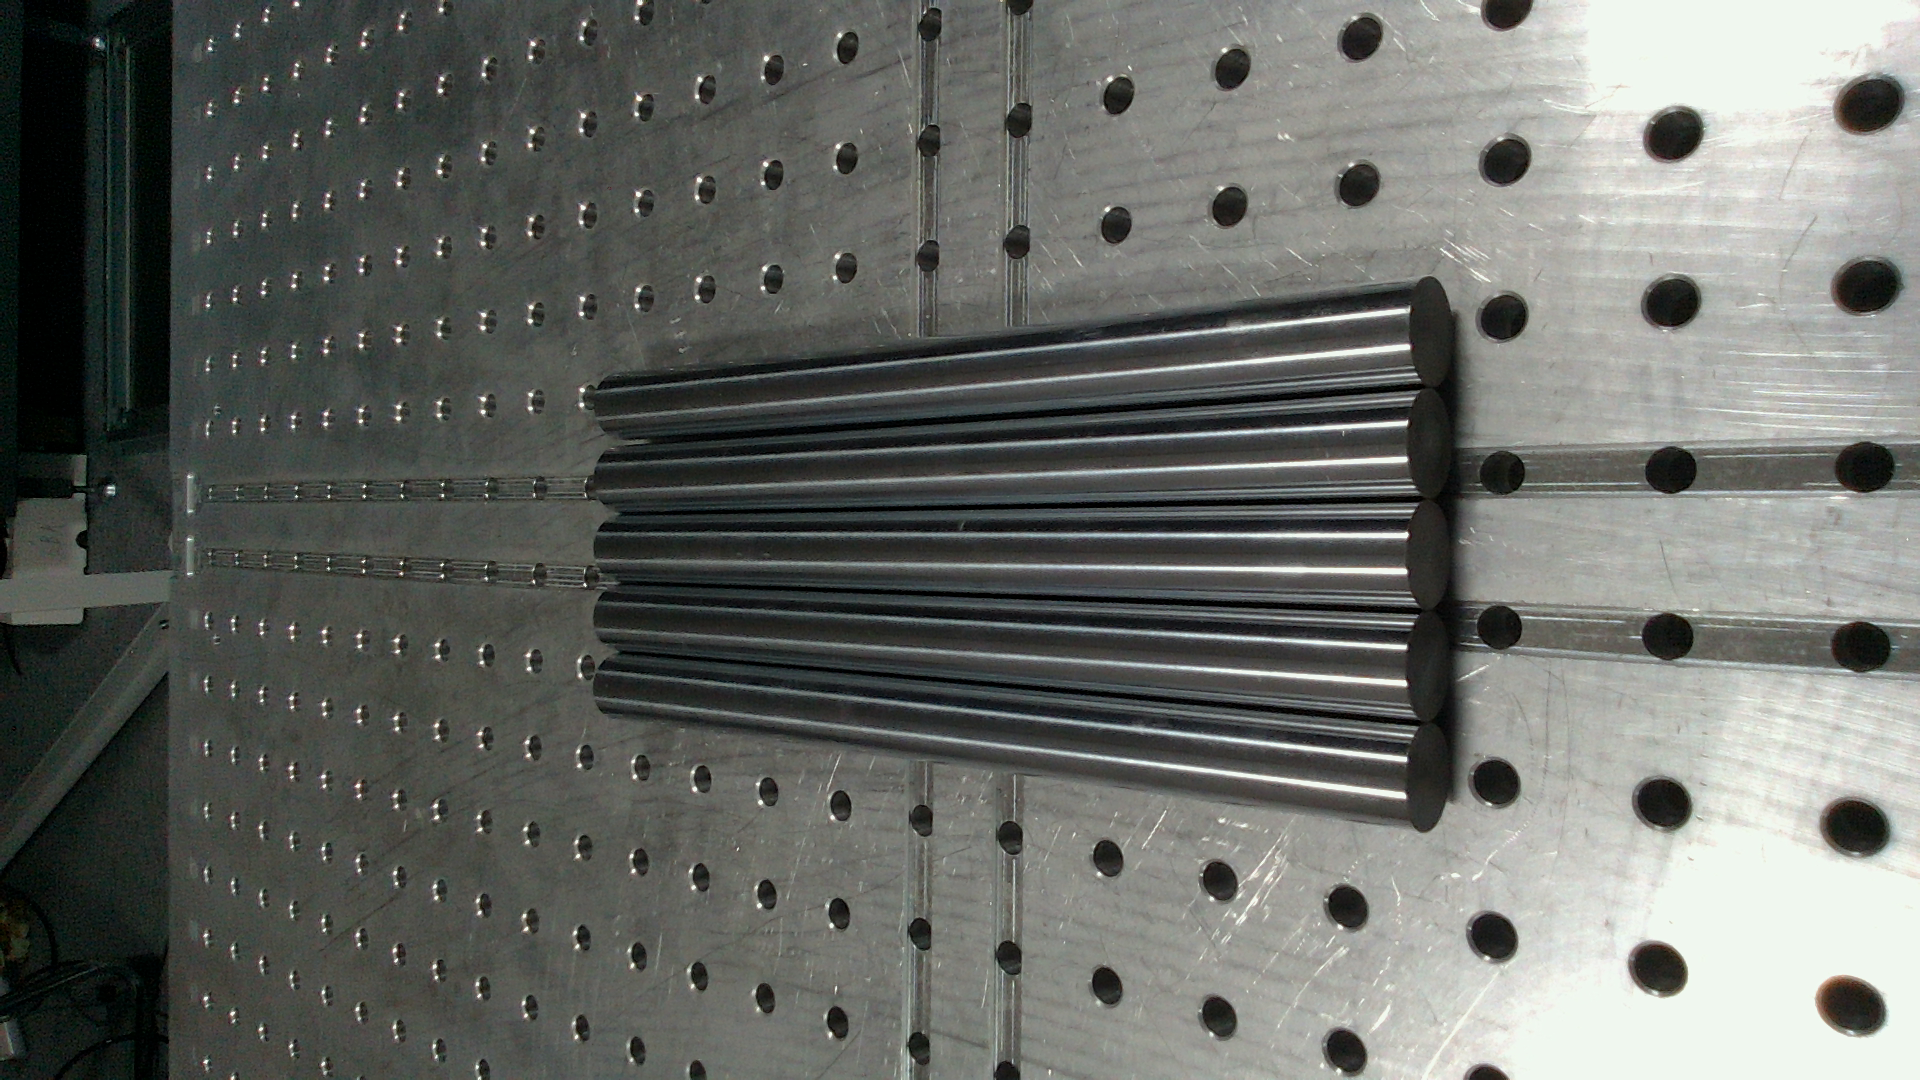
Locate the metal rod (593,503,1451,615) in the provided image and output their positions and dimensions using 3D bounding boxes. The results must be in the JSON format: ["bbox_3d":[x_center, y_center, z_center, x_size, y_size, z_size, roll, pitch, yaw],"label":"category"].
[{"bbox_3d":[-0.009,0.004,0.405,0.299,0.025,0.025,0,90,40],"label":"metal rod"}]

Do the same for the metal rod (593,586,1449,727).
[{"bbox_3d":[-0.009,0.029,0.405,0.299,0.025,0.025,0,90,40],"label":"metal rod"}]

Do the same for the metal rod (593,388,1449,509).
[{"bbox_3d":[-0.009,-0.022,0.405,0.299,0.025,0.025,0,90,40],"label":"metal rod"}]

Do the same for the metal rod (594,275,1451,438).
[{"bbox_3d":[-0.009,-0.048,0.405,0.299,0.025,0.025,0,90,40],"label":"metal rod"}]

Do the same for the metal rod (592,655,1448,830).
[{"bbox_3d":[-0.009,0.053,0.405,0.299,0.025,0.025,0,90,40],"label":"metal rod"}]
